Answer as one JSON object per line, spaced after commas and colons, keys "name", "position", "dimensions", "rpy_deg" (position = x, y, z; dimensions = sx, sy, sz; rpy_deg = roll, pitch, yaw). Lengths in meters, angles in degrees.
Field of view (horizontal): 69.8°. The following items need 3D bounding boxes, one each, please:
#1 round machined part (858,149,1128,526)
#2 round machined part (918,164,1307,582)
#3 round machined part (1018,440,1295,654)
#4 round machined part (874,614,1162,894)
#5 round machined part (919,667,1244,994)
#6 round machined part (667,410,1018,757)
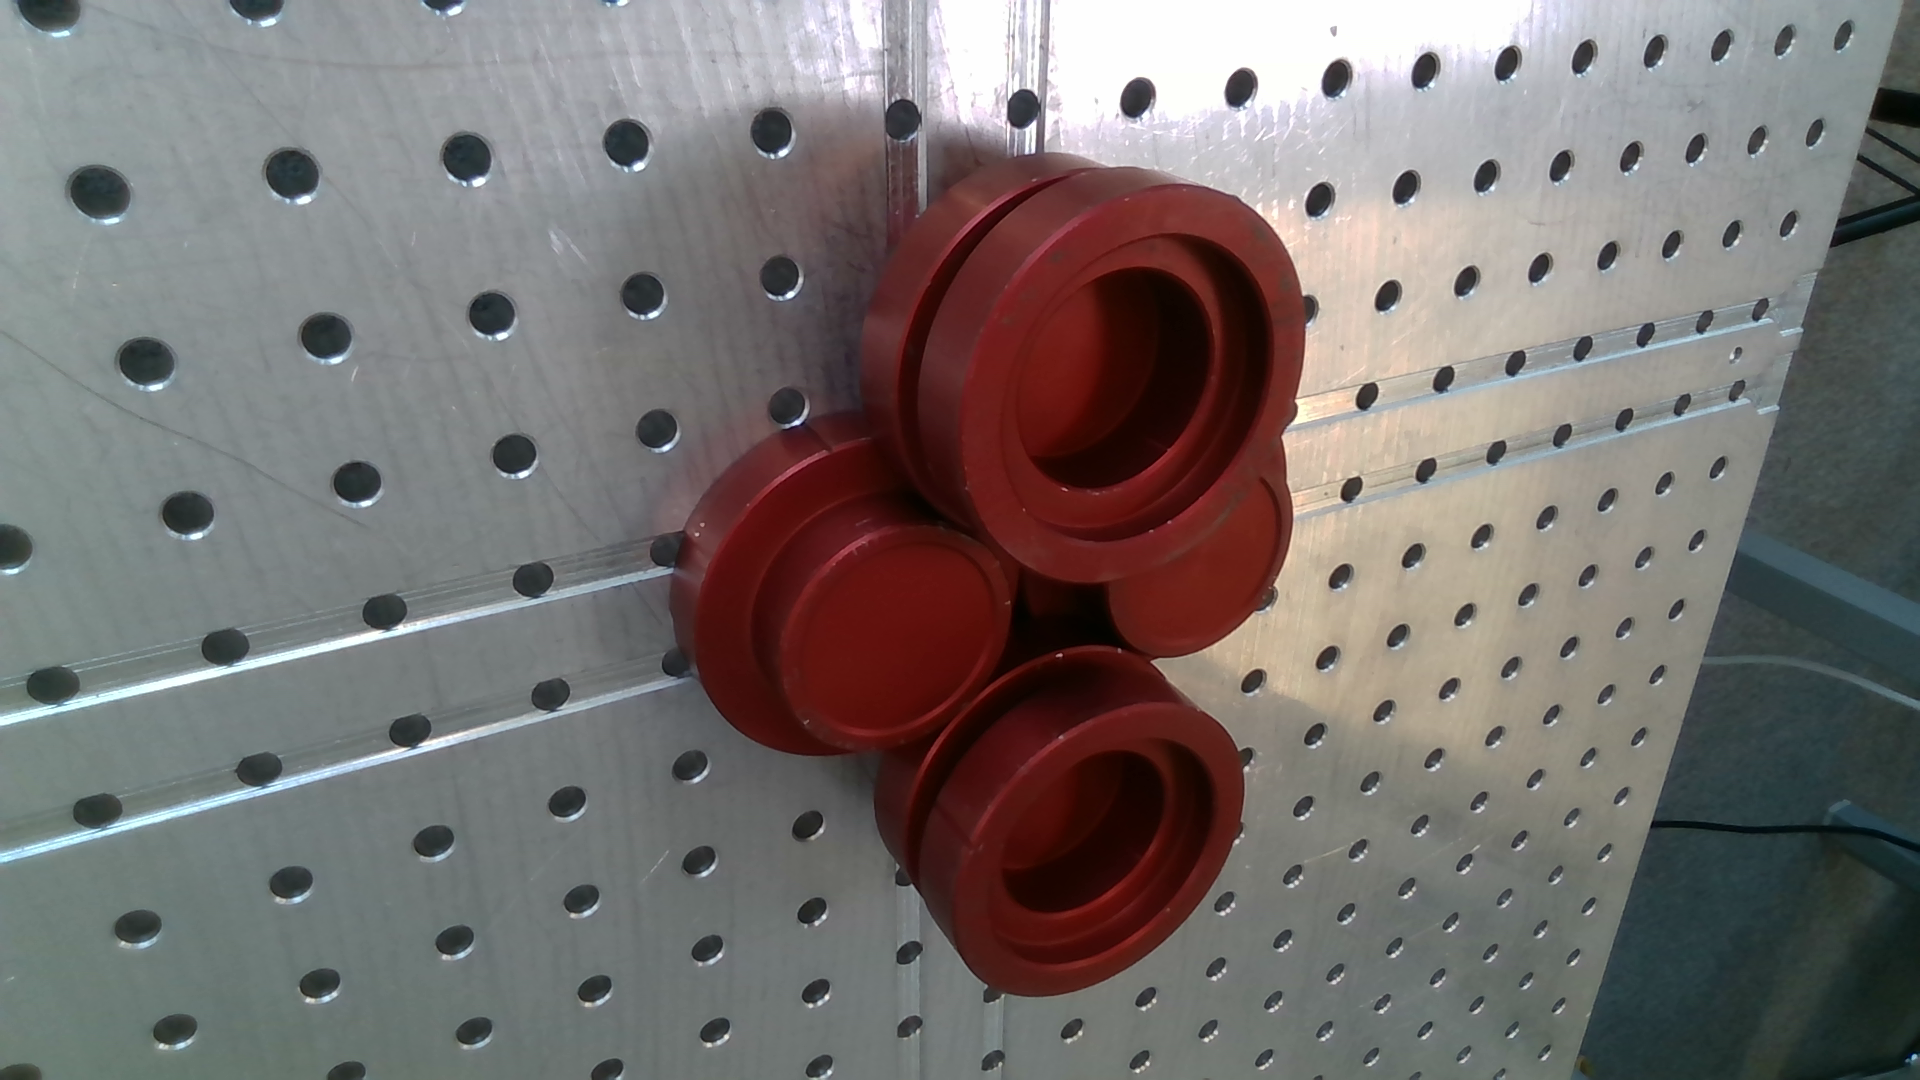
{"name": "round machined part", "position": [0.017, -0.053, 0.362], "dimensions": [0.098, 0.042, 0.098], "rpy_deg": [-14, 122, -25]}
{"name": "round machined part", "position": [0.033, -0.043, 0.336], "dimensions": [0.098, 0.042, 0.098], "rpy_deg": [-14, 122, -25]}
{"name": "round machined part", "position": [0.061, -0.005, 0.416], "dimensions": [0.098, 0.042, 0.098], "rpy_deg": [-14, 122, -25]}
{"name": "round machined part", "position": [0.017, 0.066, 0.427], "dimensions": [0.098, 0.042, 0.098], "rpy_deg": [-14, 122, -25]}
{"name": "round machined part", "position": [0.031, 0.080, 0.401], "dimensions": [0.098, 0.042, 0.098], "rpy_deg": [-14, 122, -25]}
{"name": "round machined part", "position": [-0.026, 0.017, 0.374], "dimensions": [0.098, 0.042, 0.098], "rpy_deg": [-14, 122, -25]}
